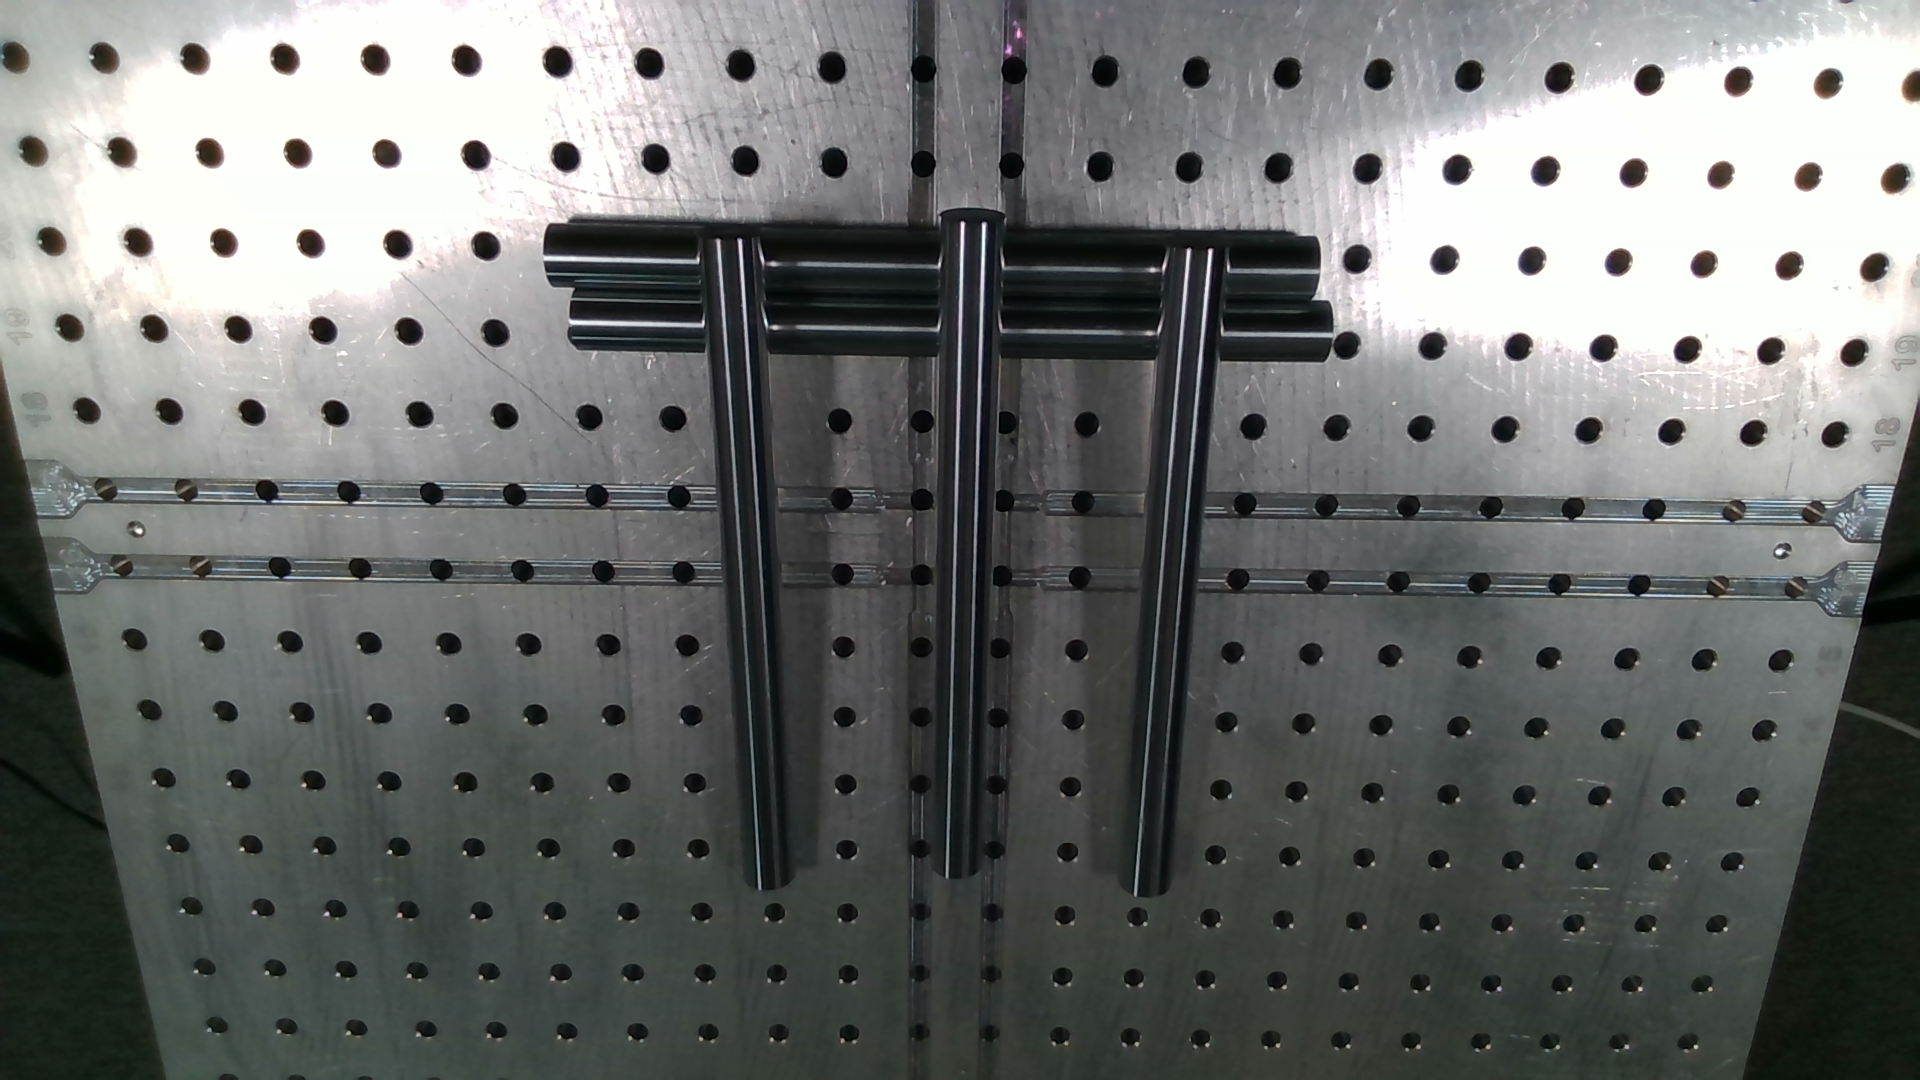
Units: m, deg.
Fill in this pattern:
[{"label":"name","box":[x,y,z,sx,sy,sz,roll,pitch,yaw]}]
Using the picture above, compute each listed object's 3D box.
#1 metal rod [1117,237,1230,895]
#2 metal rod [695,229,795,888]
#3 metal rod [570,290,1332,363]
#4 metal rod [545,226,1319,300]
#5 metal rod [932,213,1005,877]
[{"label":"metal rod","box":[0.087,0.024,0.580,0.025,0.025,0.301,0,116,0]},{"label":"metal rod","box":[-0.088,0.020,0.579,0.025,0.025,0.301,1,116,0]},{"label":"metal rod","box":[-0.003,-0.086,0.554,0.300,0.025,0.025,1,110,0]},{"label":"metal rod","box":[-0.011,-0.110,0.546,0.300,0.025,0.025,1,110,0]},{"label":"metal rod","box":[0.001,0.015,0.576,0.025,0.025,0.301,1,116,0]}]
